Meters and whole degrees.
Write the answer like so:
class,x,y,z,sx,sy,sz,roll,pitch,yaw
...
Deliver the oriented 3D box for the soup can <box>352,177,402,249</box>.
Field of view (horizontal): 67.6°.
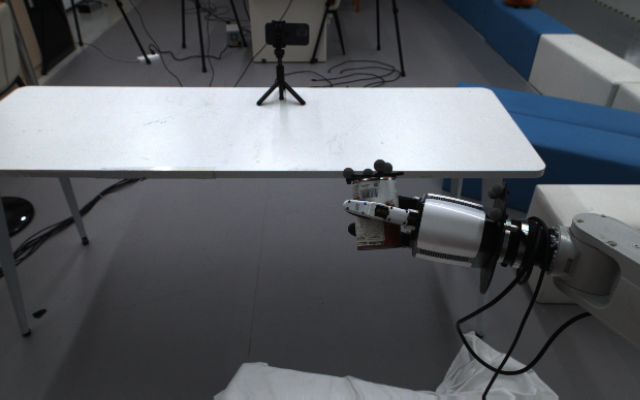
class,x,y,z,sx,sy,sz,roll,pitch,yaw
soup can,0.085,0.021,0.710,0.067,0.101,0.067,-5,-5,0
